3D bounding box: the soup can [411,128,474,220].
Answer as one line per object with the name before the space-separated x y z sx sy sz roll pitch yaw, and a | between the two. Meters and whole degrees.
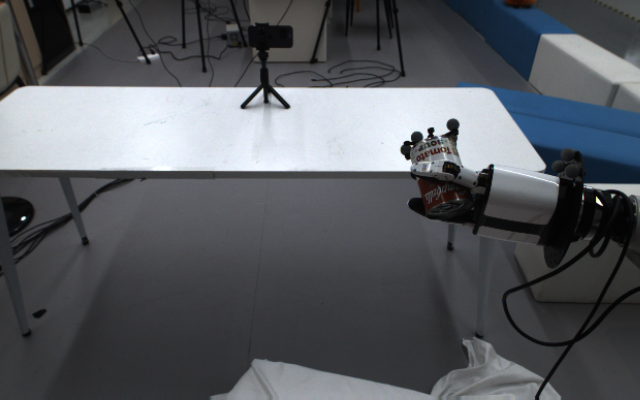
soup can | 0.174 -0.033 0.687 0.067 0.067 0.101 -8 68 -14
